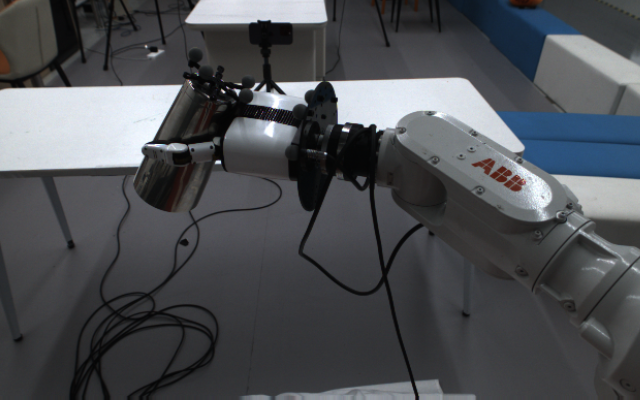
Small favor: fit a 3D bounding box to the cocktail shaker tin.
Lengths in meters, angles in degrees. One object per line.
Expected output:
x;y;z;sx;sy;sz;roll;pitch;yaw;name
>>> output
-0.169;-0.079;0.629;0.093;0.170;0.093;26;32;-18;cocktail shaker tin
